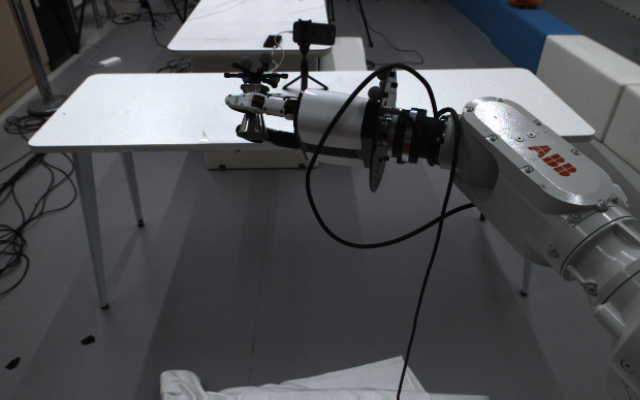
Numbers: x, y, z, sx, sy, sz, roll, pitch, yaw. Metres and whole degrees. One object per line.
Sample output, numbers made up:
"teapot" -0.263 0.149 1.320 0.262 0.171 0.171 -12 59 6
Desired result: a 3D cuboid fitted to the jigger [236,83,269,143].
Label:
"jigger" -0.095 -0.122 0.664 0.043 0.071 0.043 2 -6 0
